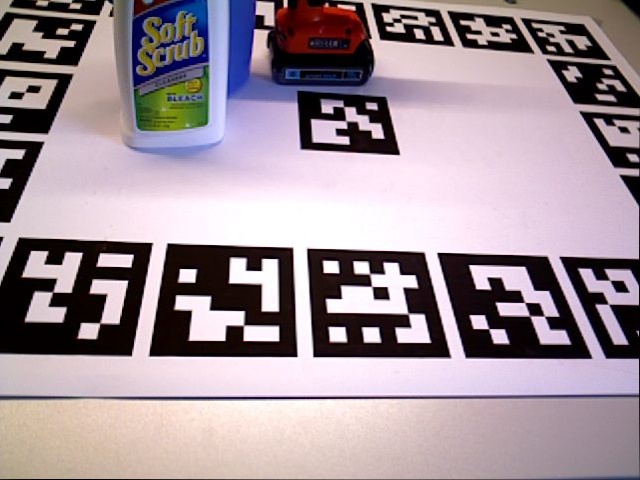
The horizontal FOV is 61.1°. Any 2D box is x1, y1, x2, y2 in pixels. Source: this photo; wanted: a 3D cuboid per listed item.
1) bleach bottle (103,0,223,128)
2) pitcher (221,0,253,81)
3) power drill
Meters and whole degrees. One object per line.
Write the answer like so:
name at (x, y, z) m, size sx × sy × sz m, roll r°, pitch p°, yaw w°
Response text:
bleach bottle at (-0.125, -0.206, 0.411) m, size 0.101 × 0.257 × 0.067 m, roll -4°, pitch 52°, yaw -13°
pitcher at (-0.124, -0.270, 0.491) m, size 0.185 × 0.248 × 0.132 m, roll -21°, pitch 58°, yaw -24°
power drill at (0.038, -0.272, 0.531) m, size 0.182 × 0.192 × 0.056 m, roll 1°, pitch 53°, yaw -16°
